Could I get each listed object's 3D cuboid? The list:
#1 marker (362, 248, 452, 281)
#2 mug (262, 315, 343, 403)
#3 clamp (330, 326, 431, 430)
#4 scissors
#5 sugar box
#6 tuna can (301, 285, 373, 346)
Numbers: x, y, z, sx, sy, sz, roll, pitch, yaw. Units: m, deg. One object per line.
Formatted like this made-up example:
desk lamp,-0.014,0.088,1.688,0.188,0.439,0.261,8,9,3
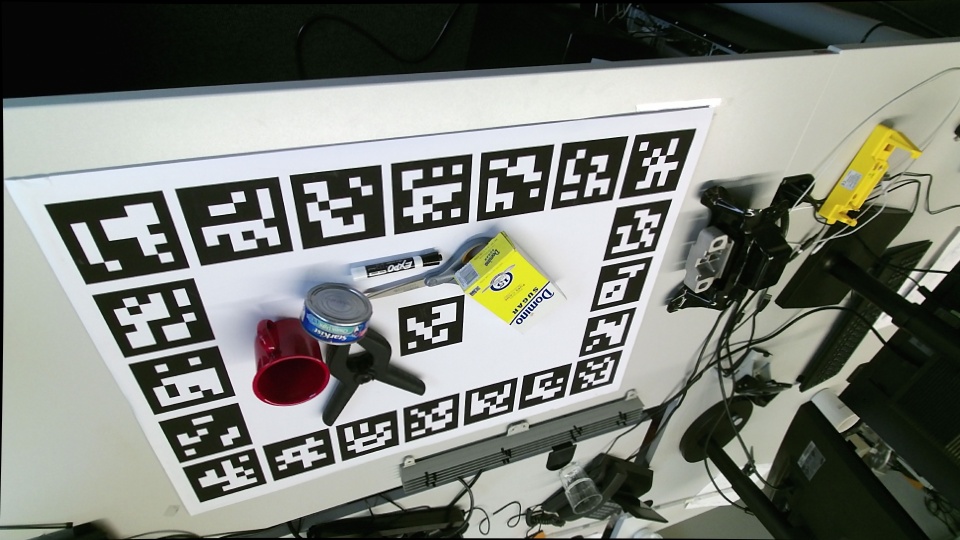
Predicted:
marker,-0.096,-0.009,0.718,0.121,0.019,0.019,-14,128,-17
mug,-0.240,0.107,0.698,0.093,0.081,0.117,-32,135,0
clamp,-0.170,0.147,0.802,0.166,0.036,0.203,-19,129,-11
scissors,-0.054,0.018,0.755,0.203,0.016,0.088,-19,134,-10
sugar box,0.051,0.025,0.790,0.093,0.045,0.177,-39,137,6
tuna can,-0.181,0.056,0.681,0.086,0.085,0.034,4,122,-28
